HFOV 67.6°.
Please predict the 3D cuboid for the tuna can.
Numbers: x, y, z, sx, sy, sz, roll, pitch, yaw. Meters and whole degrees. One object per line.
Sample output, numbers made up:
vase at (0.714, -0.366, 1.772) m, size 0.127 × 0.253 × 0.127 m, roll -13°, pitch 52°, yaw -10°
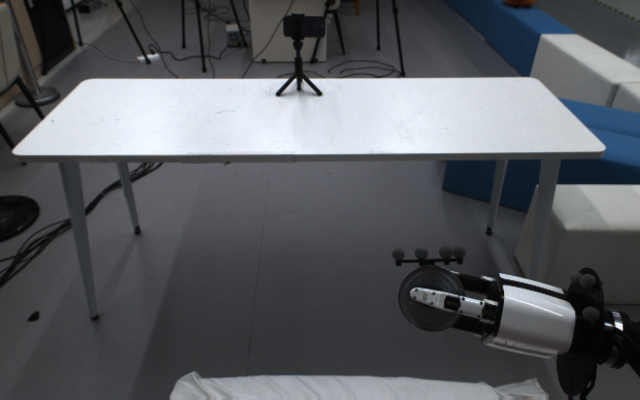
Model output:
tuna can at (0.149, 0.127, 0.640) m, size 0.085 × 0.034 × 0.085 m, roll -2°, pitch 78°, yaw 10°
